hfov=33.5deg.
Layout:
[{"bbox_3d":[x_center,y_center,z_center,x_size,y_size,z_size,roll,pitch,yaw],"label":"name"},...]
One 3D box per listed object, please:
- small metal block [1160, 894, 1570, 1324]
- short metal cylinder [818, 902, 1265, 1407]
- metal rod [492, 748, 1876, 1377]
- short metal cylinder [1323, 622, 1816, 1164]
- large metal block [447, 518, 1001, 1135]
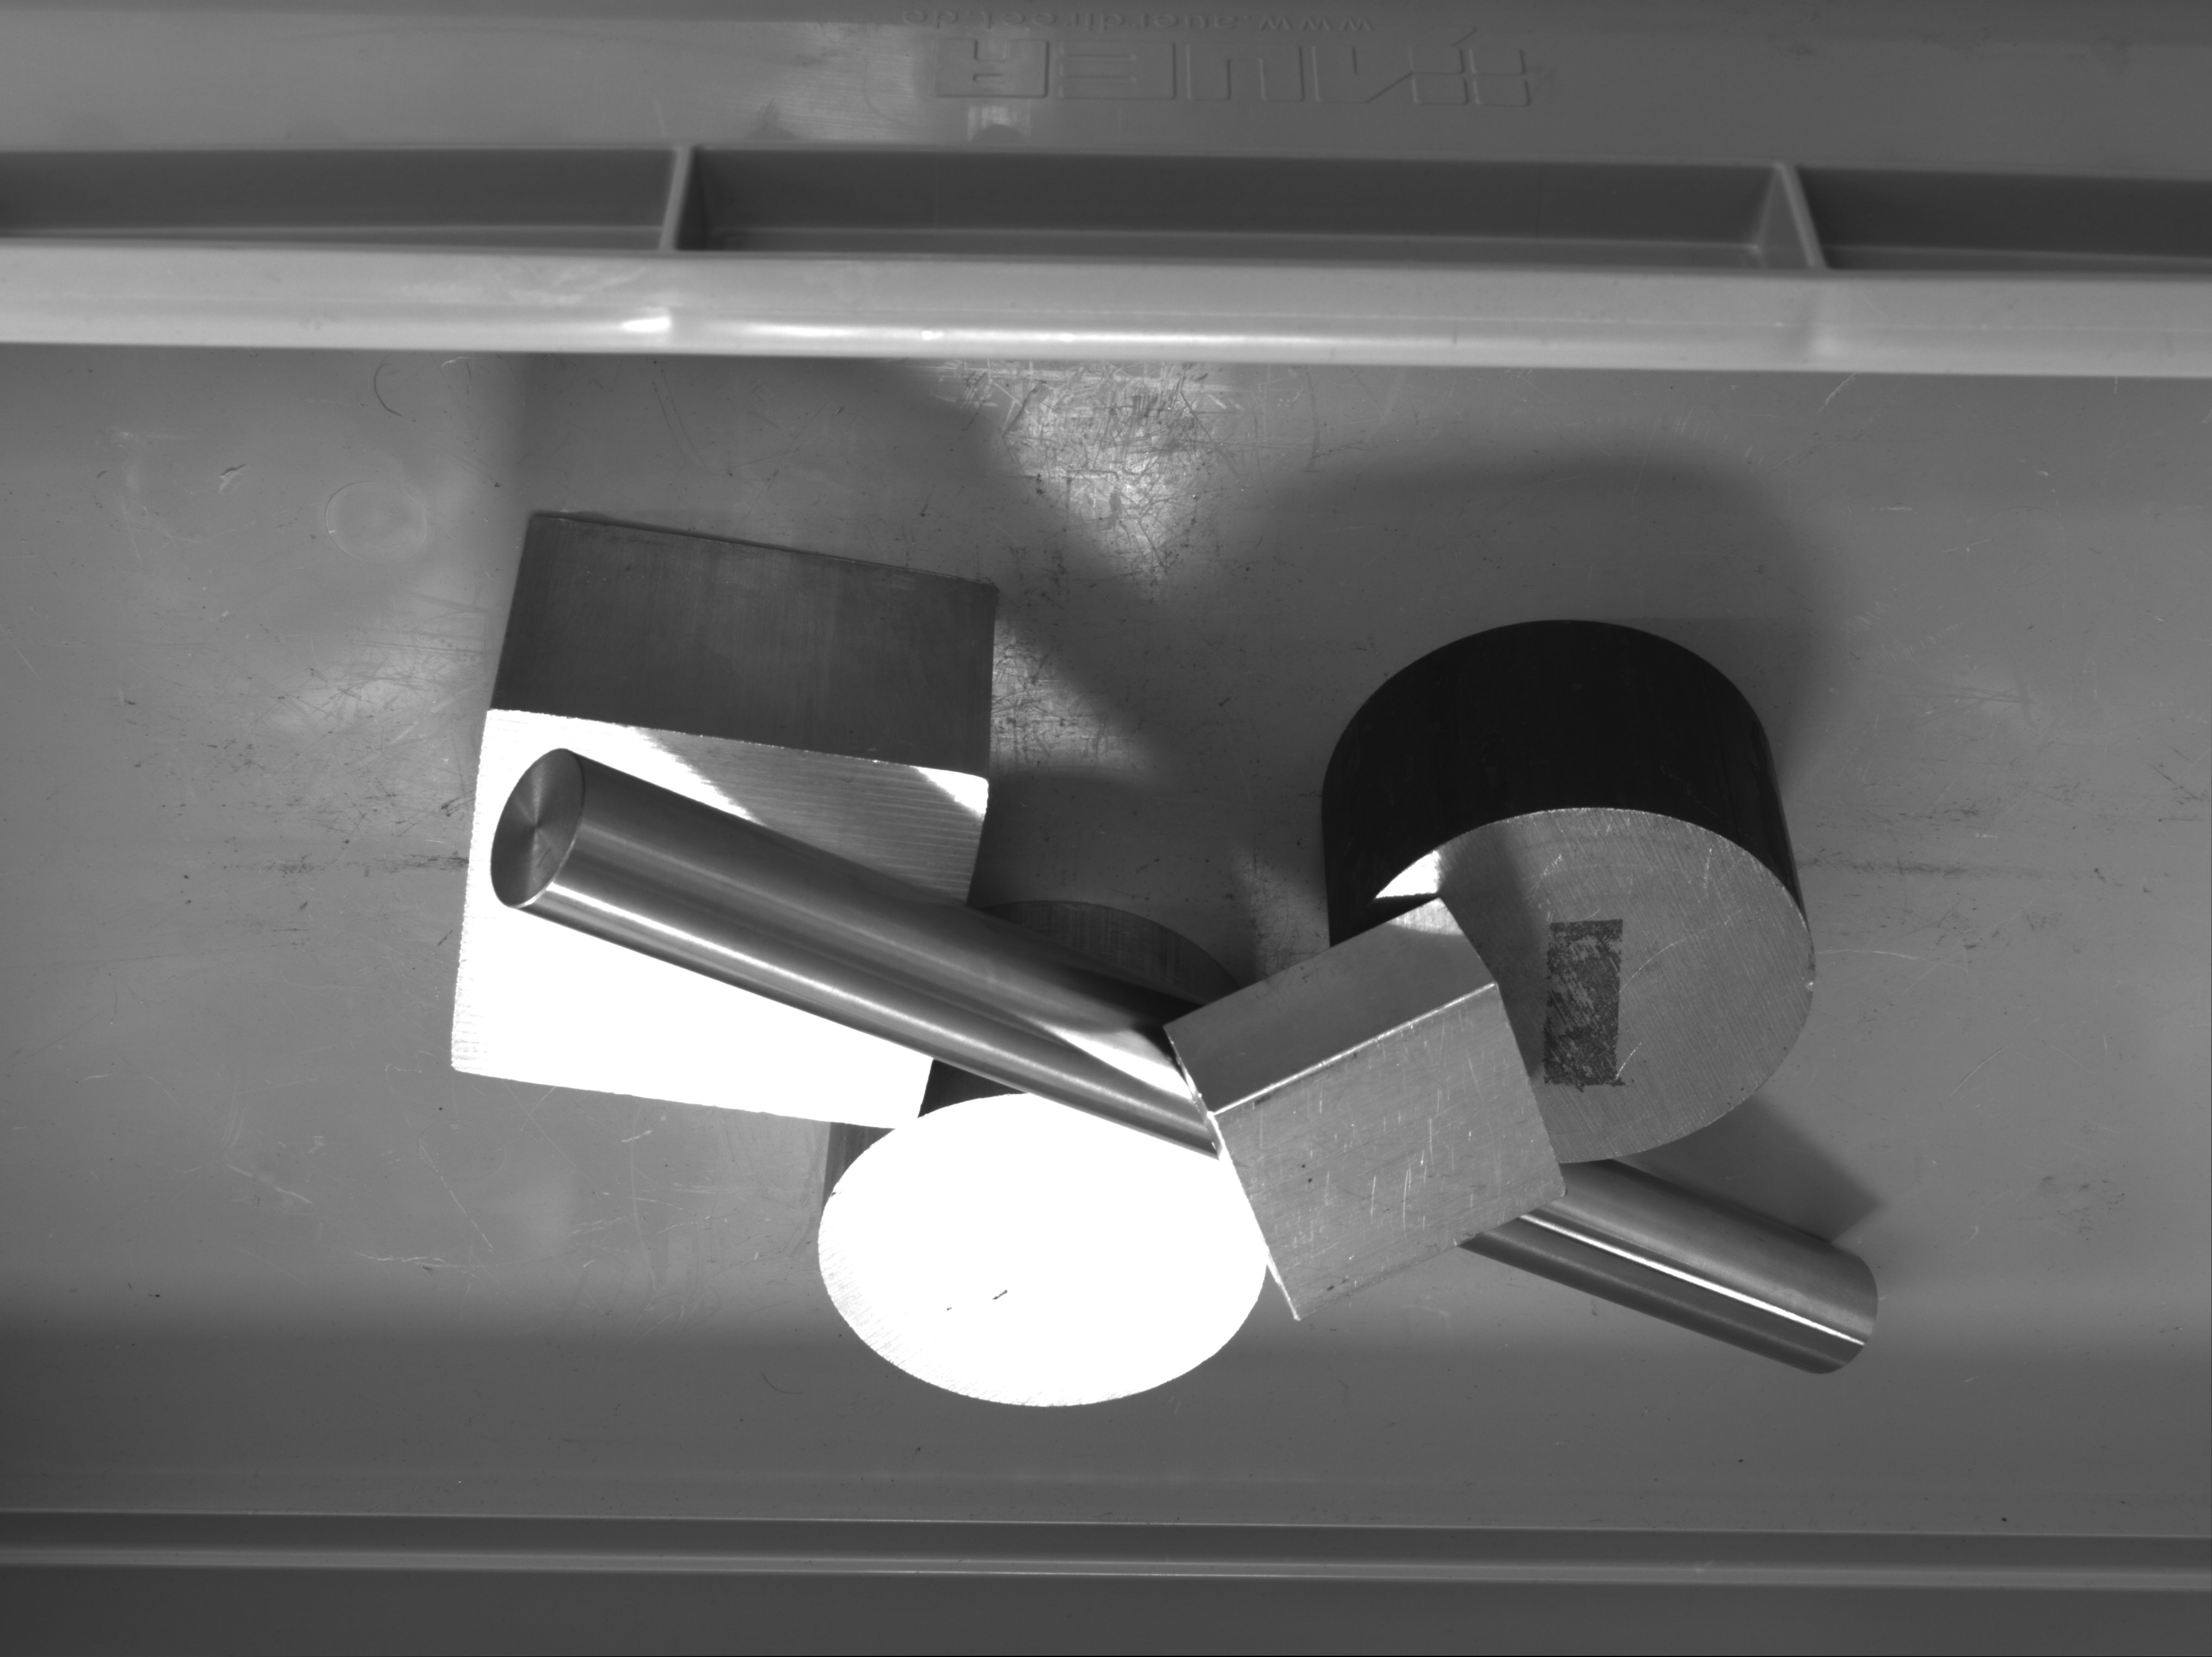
[{"bbox_3d":[0.043,0.046,0.603,0.050,0.025,0.050,-25,127,-2],"label":"small metal block"},{"bbox_3d":[-0.011,0.060,0.672,0.080,0.050,0.080,0,130,0],"label":"short metal cylinder"},{"bbox_3d":[0.028,0.048,0.632,0.301,0.025,0.025,23,128,-36],"label":"metal rod"},{"bbox_3d":[0.078,0.012,0.632,0.080,0.050,0.080,0,130,0],"label":"short metal cylinder"},{"bbox_3d":[-0.065,0.001,0.620,0.080,0.050,0.080,8,129,-7],"label":"large metal block"}]
